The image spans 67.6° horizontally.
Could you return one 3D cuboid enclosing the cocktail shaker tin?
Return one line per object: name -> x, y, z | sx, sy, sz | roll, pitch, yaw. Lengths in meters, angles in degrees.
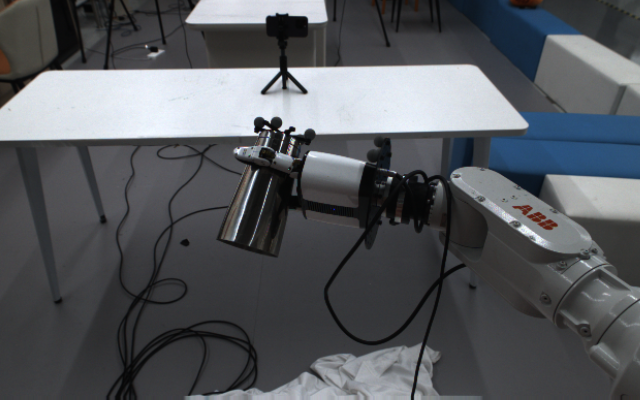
cocktail shaker tin -> -0.080, -0.014, 0.707 | 0.093, 0.093, 0.170 | 13, 77, 15
